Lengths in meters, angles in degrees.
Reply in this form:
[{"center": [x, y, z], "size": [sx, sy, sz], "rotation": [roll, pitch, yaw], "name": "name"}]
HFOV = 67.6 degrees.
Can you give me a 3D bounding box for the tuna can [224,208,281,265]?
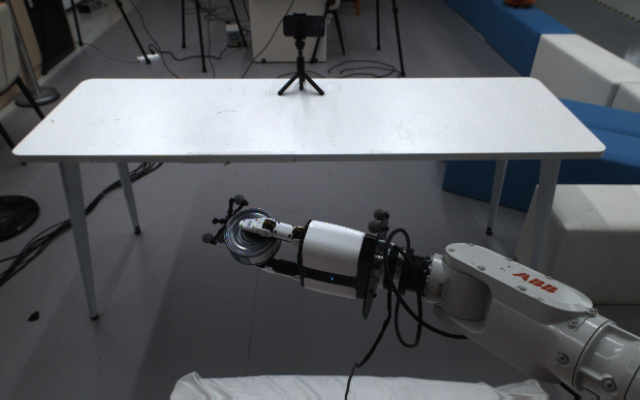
[{"center": [-0.100, 0.060, 0.743], "size": [0.085, 0.034, 0.085], "rotation": [-1, 63, 1], "name": "tuna can"}]
